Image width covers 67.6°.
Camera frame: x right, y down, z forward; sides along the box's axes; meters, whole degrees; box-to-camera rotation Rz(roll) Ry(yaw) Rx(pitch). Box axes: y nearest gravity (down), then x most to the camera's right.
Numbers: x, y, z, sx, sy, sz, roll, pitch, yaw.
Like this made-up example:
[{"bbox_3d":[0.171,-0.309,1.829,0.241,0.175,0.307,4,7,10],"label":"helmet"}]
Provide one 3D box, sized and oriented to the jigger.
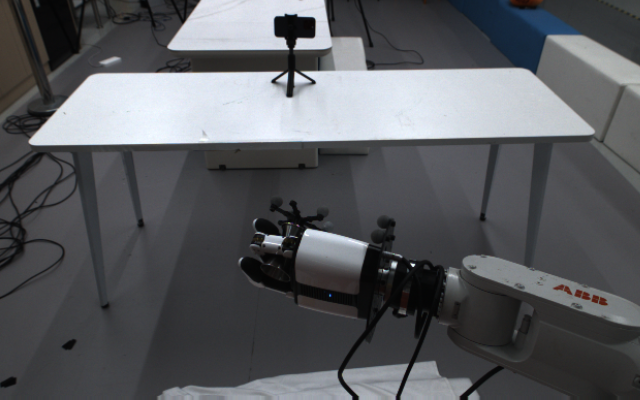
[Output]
[{"bbox_3d":[-0.043,0.068,0.644,0.043,0.043,0.071,13,58,16],"label":"jigger"}]
